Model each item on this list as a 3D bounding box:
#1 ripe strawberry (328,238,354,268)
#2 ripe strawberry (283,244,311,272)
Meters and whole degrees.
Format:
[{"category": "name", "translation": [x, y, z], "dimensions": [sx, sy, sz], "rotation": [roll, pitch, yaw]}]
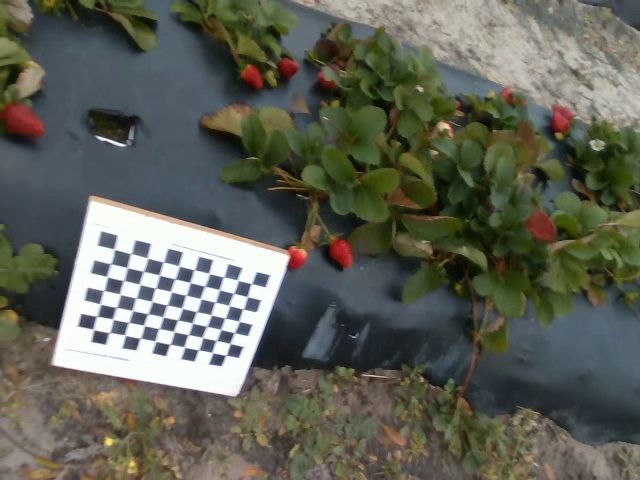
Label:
[{"category": "ripe strawberry", "translation": [0.042, 0.006, 1.222], "dimensions": [0.044, 0.059, 0.042], "rotation": [-26, 4, 0]}, {"category": "ripe strawberry", "translation": [-0.028, 0.015, 1.183], "dimensions": [0.036, 0.041, 0.027], "rotation": [18, -7, -16]}]
